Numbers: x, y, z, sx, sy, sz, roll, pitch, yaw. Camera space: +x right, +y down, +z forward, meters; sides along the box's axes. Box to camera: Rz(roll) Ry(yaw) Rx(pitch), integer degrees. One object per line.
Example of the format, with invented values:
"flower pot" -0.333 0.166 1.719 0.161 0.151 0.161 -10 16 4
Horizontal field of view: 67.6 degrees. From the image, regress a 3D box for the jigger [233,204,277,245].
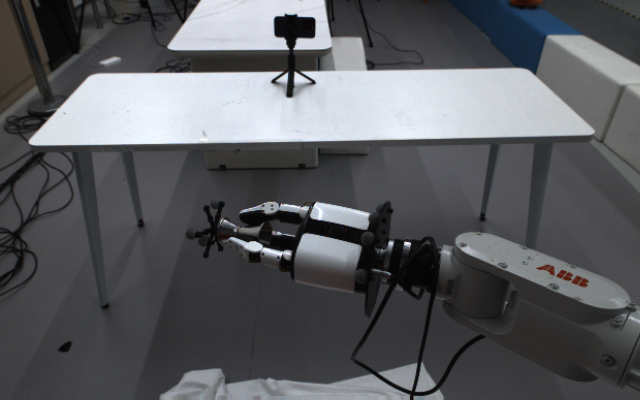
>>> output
"jigger" -0.101 0.042 0.702 0.071 0.043 0.043 5 34 19
